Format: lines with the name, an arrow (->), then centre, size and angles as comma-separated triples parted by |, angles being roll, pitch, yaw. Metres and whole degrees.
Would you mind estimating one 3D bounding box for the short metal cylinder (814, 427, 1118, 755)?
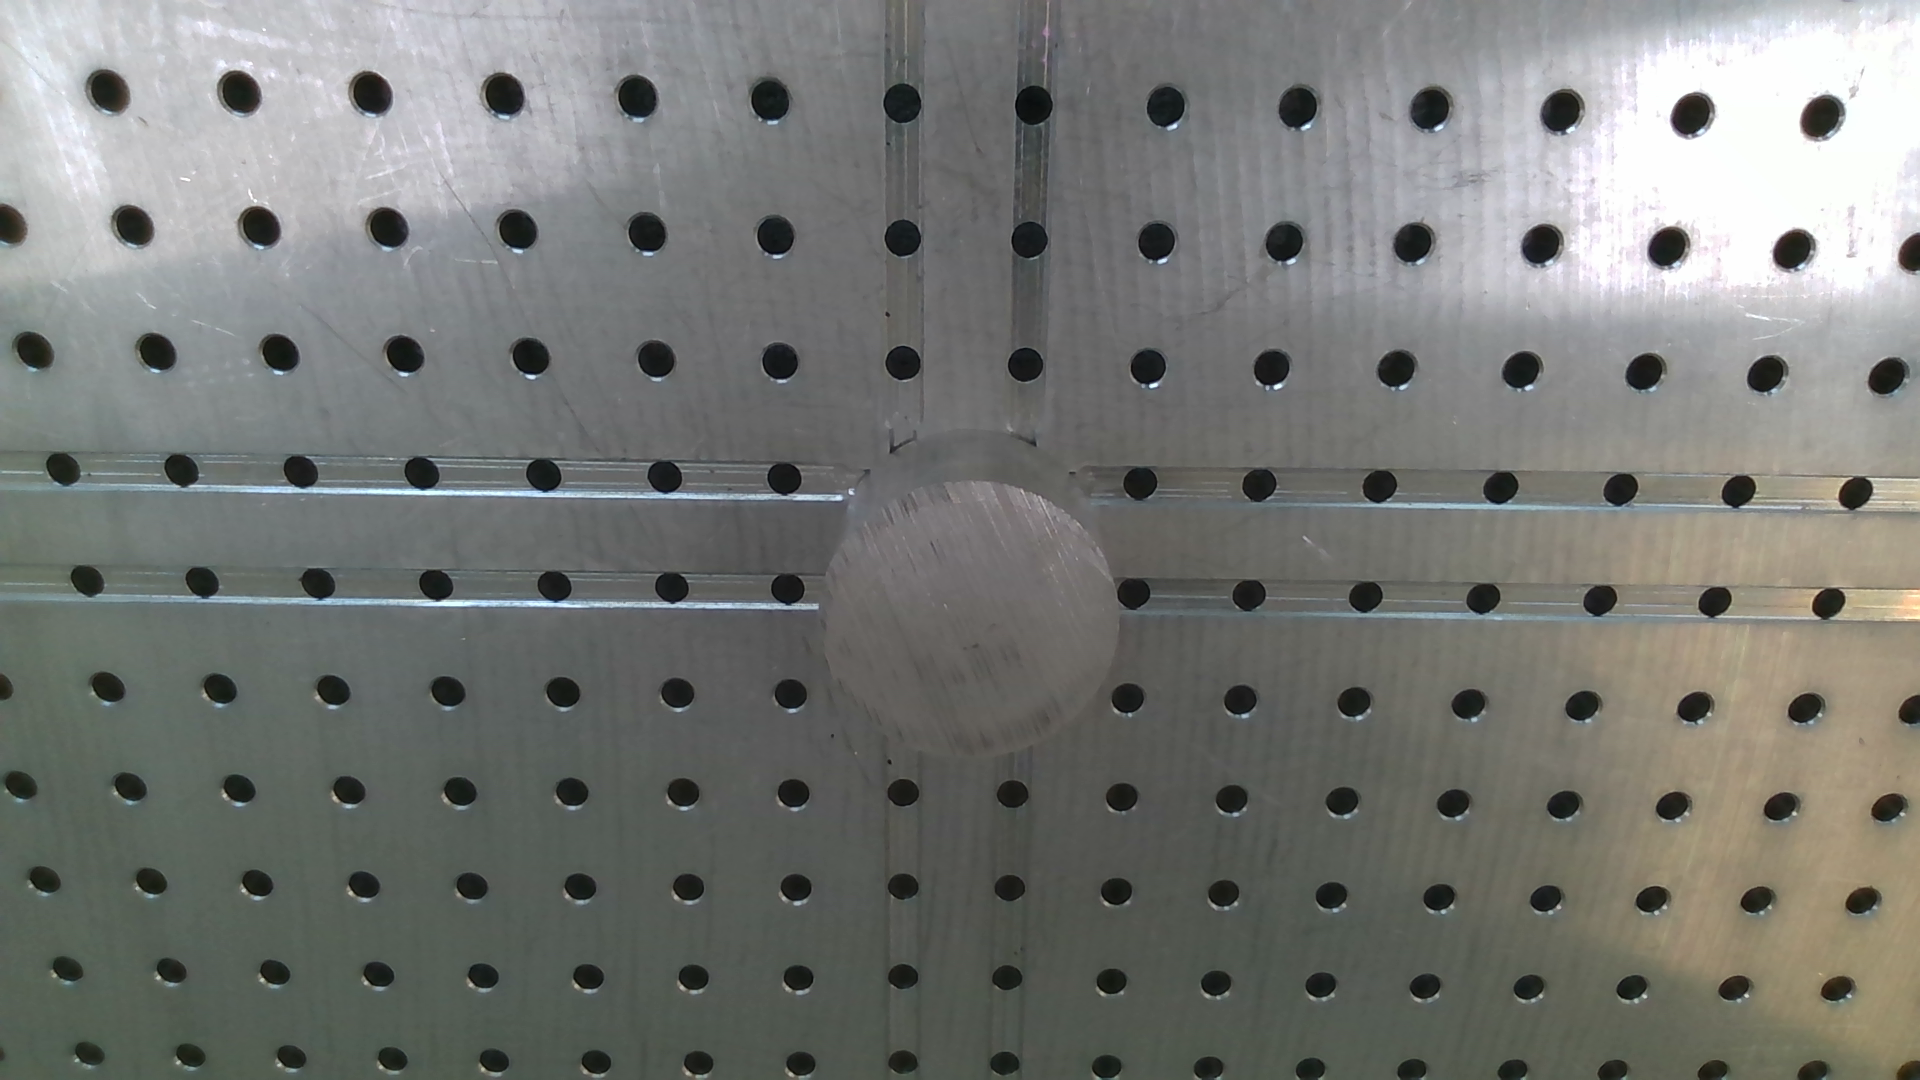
short metal cylinder -> 0.002, 0.013, 0.387 | 0.080, 0.050, 0.080 | 0, 110, 0
